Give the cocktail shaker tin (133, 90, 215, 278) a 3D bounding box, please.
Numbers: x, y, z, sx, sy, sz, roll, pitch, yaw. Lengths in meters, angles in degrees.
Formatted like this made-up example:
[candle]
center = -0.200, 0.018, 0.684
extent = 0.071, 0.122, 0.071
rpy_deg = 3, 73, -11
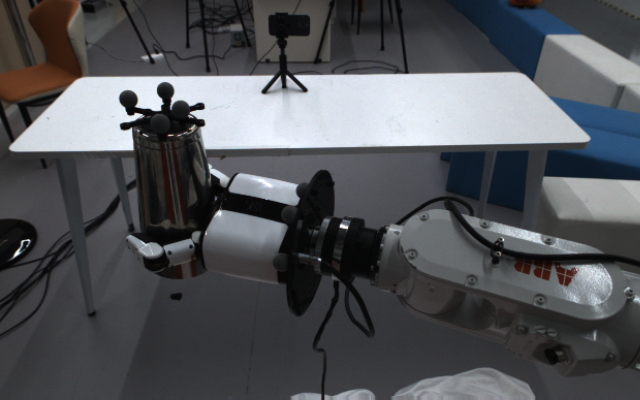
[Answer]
[cocktail shaker tin]
center = -0.158, -0.007, 0.534
extent = 0.093, 0.170, 0.093
rpy_deg = 3, 35, -2
